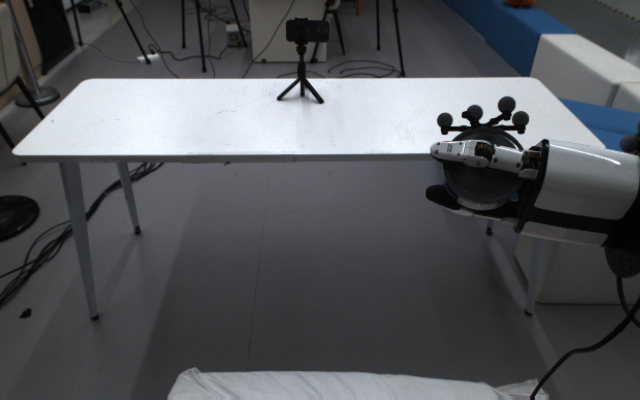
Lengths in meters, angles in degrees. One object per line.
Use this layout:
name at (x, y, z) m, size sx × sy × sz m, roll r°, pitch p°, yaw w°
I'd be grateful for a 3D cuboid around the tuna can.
tuna can at (0.178, -0.036, 0.523) m, size 0.085 × 0.034 × 0.085 m, roll -4°, pitch 72°, yaw 12°
